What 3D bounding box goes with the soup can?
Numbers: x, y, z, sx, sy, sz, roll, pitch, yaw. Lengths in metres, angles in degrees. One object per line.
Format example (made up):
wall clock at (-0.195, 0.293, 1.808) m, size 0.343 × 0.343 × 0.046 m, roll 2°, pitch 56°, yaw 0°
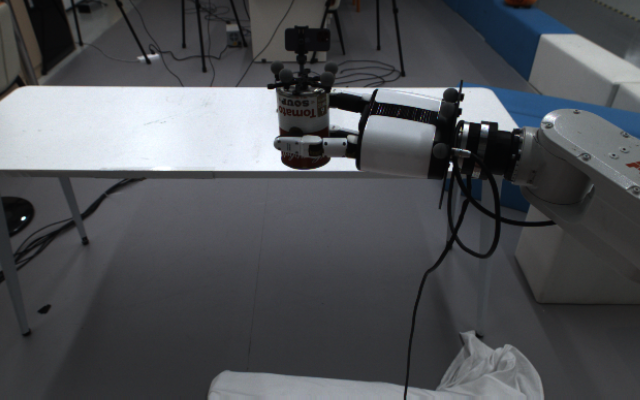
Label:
soup can at (-0.019, -0.101, 0.628) m, size 0.067 × 0.101 × 0.067 m, roll -2°, pitch 34°, yaw 1°
